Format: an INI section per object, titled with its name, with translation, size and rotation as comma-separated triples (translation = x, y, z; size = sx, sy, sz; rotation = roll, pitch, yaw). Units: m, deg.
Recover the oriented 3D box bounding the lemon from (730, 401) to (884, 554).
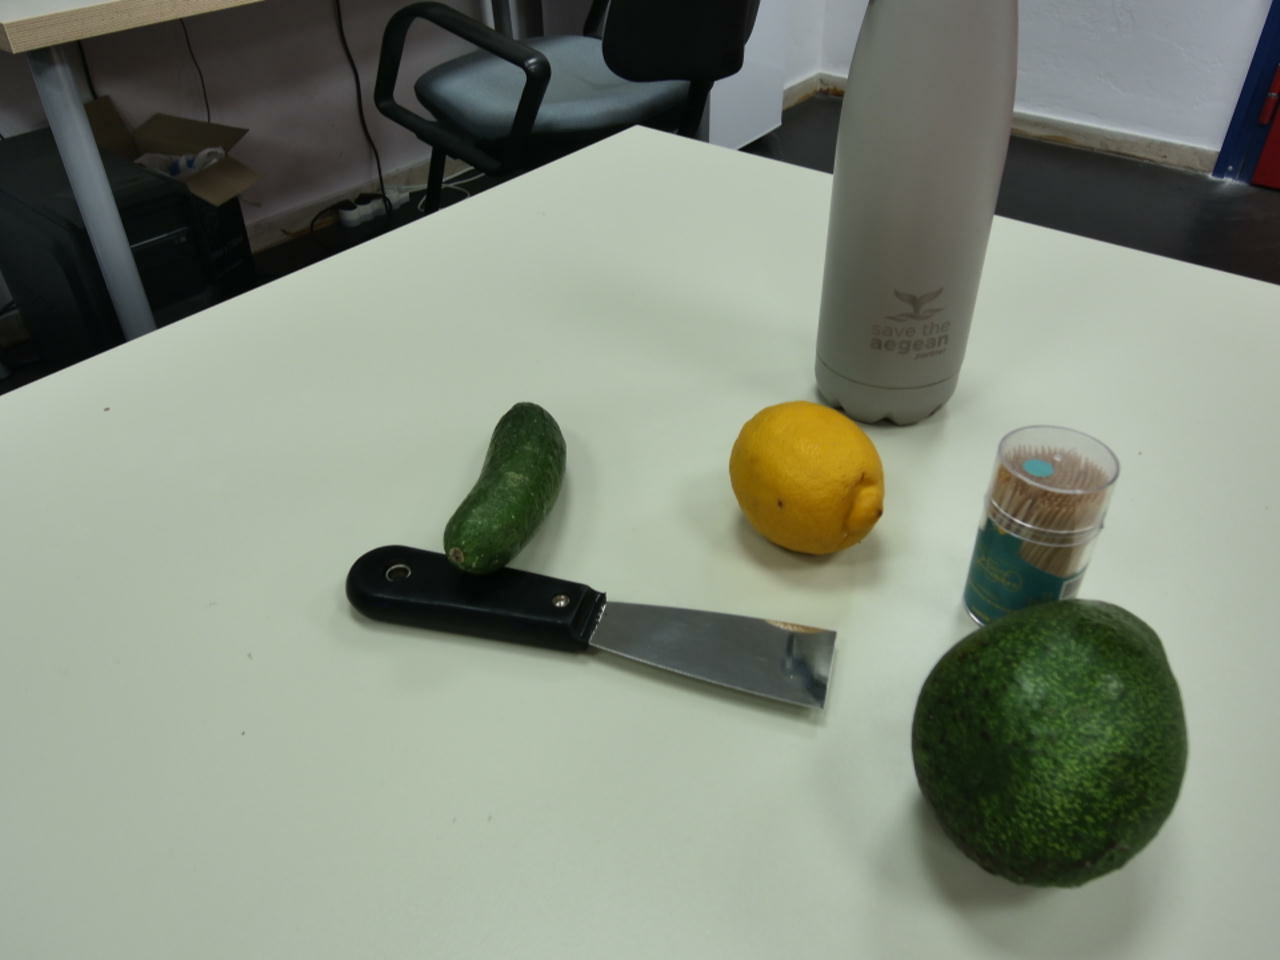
[lemon]
translation = 0.069, -0.001, 0.413
size = 0.061, 0.059, 0.067
rotation = -5, 36, -6
